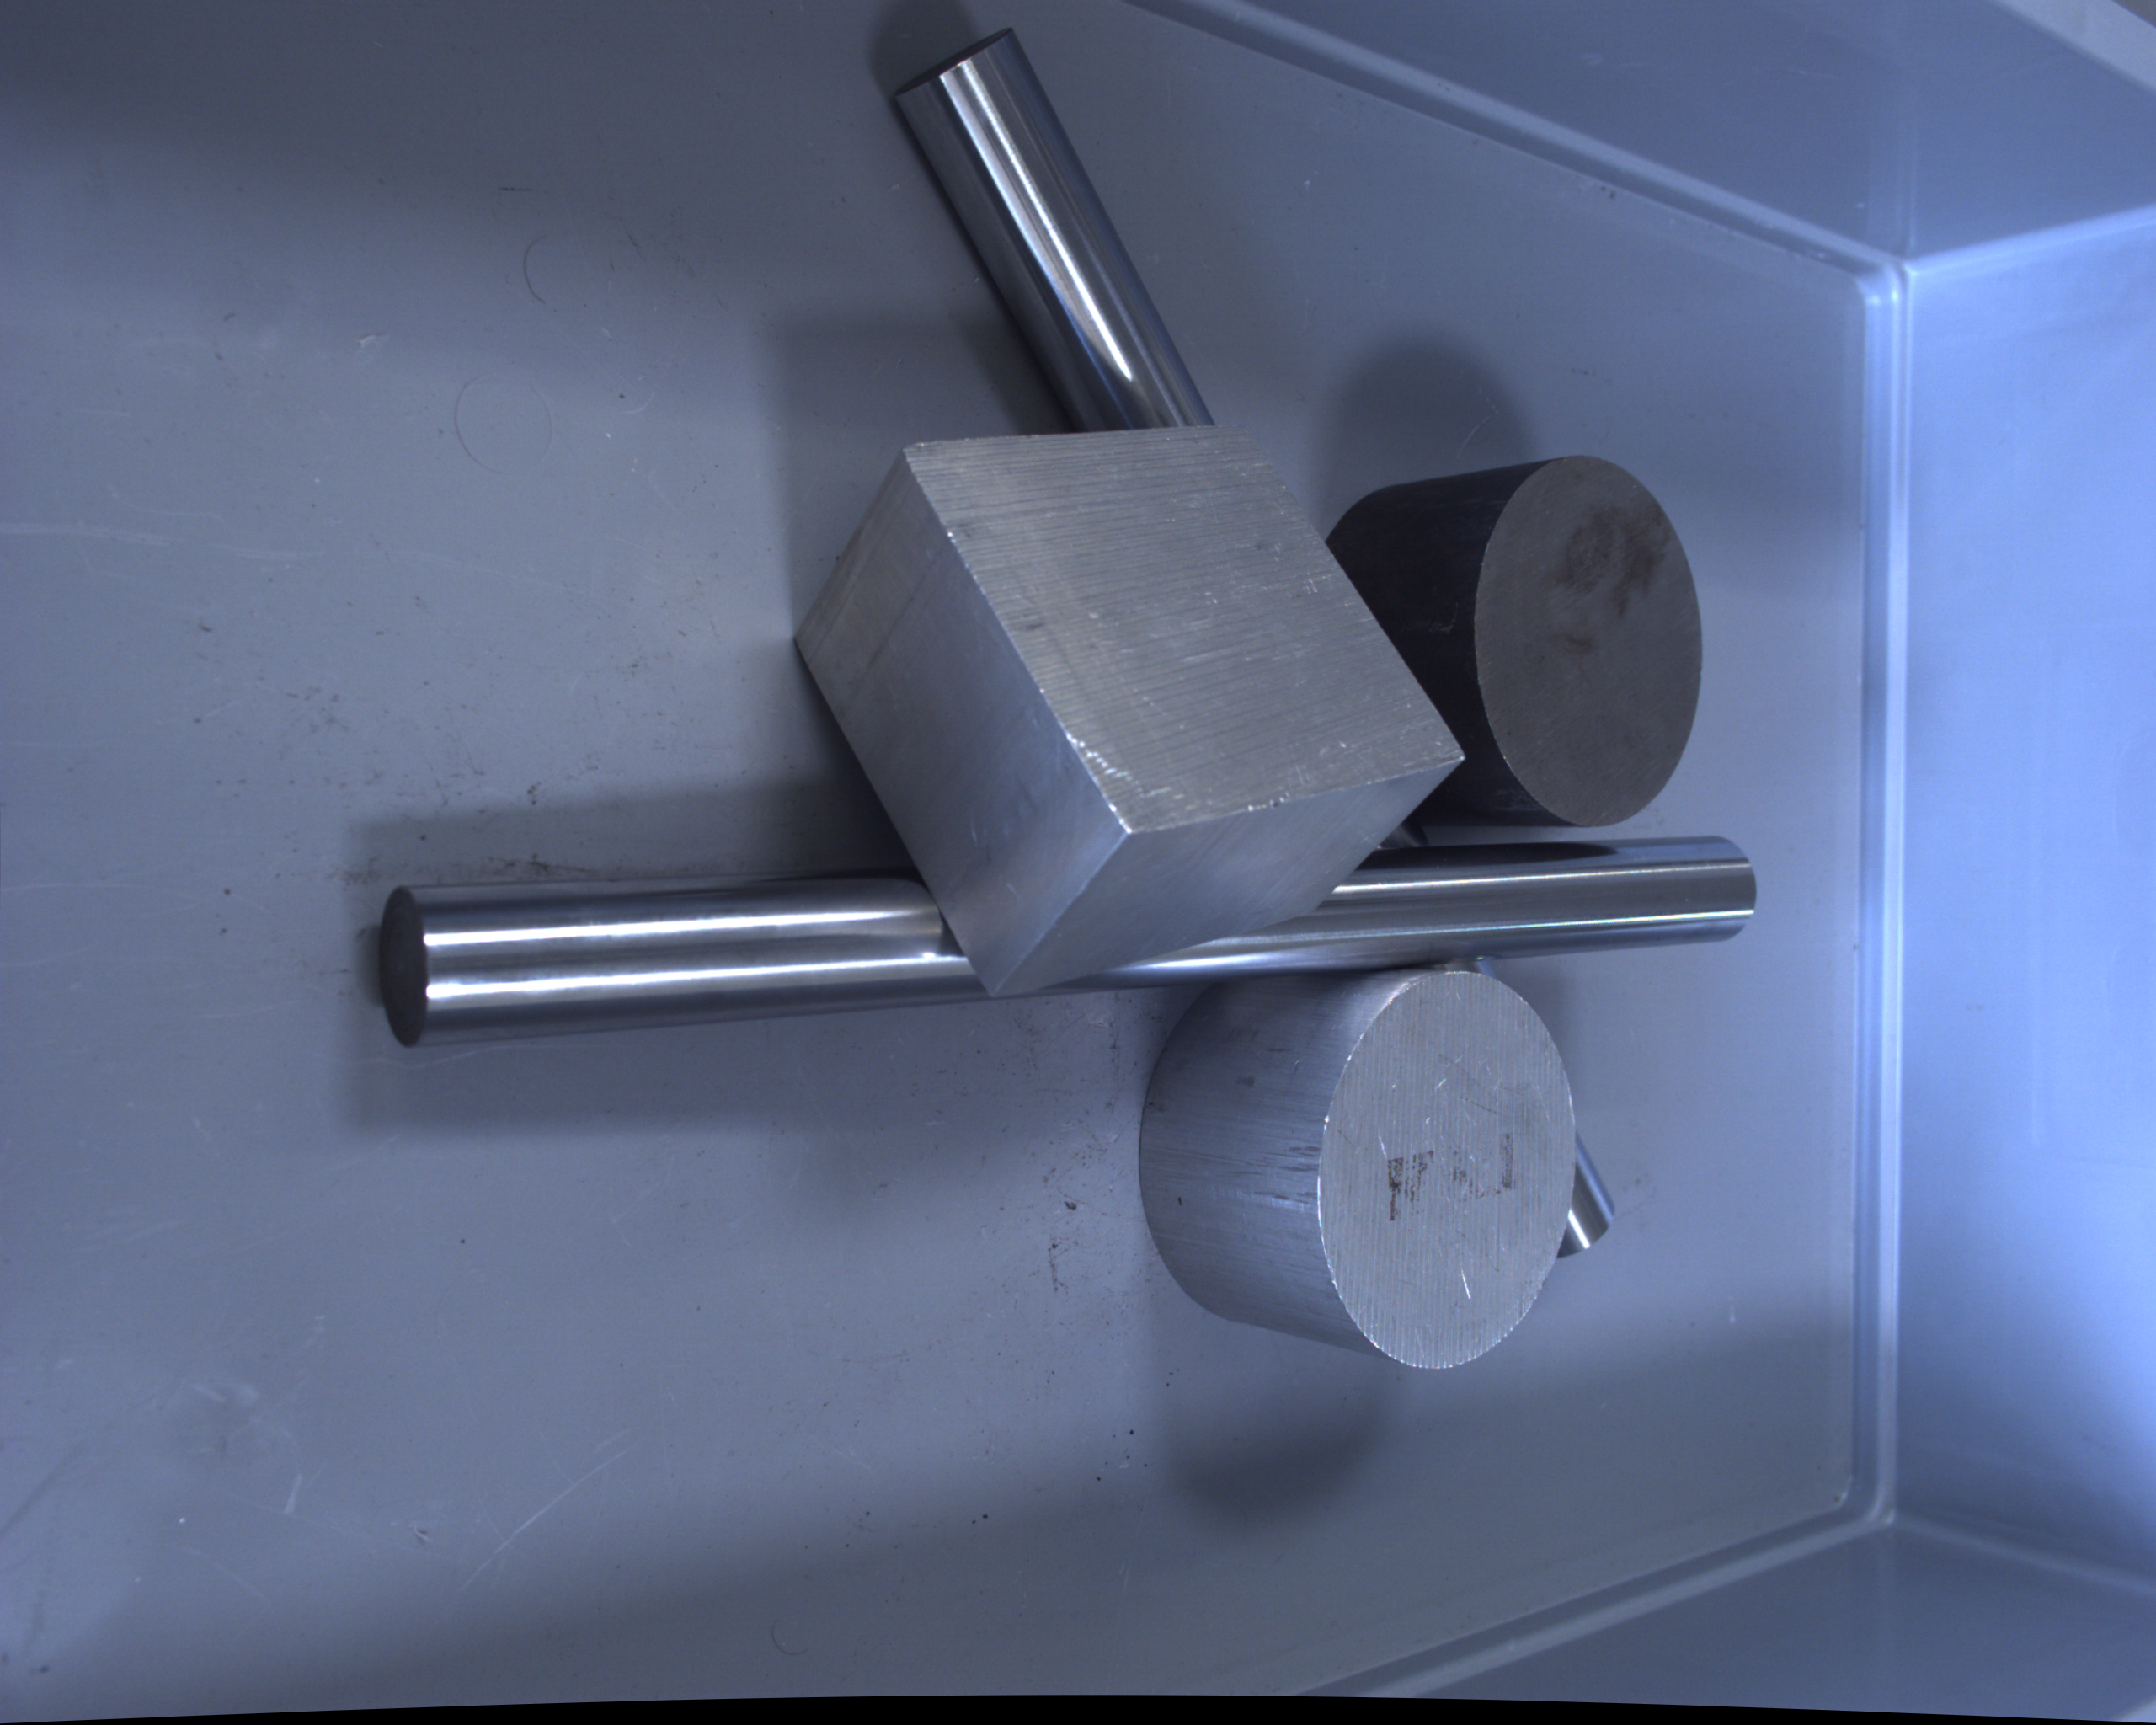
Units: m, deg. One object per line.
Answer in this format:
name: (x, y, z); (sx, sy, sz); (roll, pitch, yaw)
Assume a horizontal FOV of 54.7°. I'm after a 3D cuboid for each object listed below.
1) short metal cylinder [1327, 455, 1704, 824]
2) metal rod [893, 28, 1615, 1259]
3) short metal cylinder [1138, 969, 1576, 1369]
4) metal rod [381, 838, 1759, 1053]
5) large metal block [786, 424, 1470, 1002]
short metal cylinder: (0.096, -0.048, 0.469); (0.081, 0.050, 0.079); (0, 90, -40)
metal rod: (0.047, -0.030, 0.445); (0.025, 0.025, 0.299); (-46, 118, -30)
short metal cylinder: (0.059, 0.061, 0.438); (0.081, 0.050, 0.079); (0, 90, -40)
metal rod: (0.023, 0.011, 0.402); (0.303, 0.025, 0.025); (-2, 92, -34)
large metal block: (0.008, -0.030, 0.372); (0.081, 0.050, 0.080); (-13, 64, -39)
